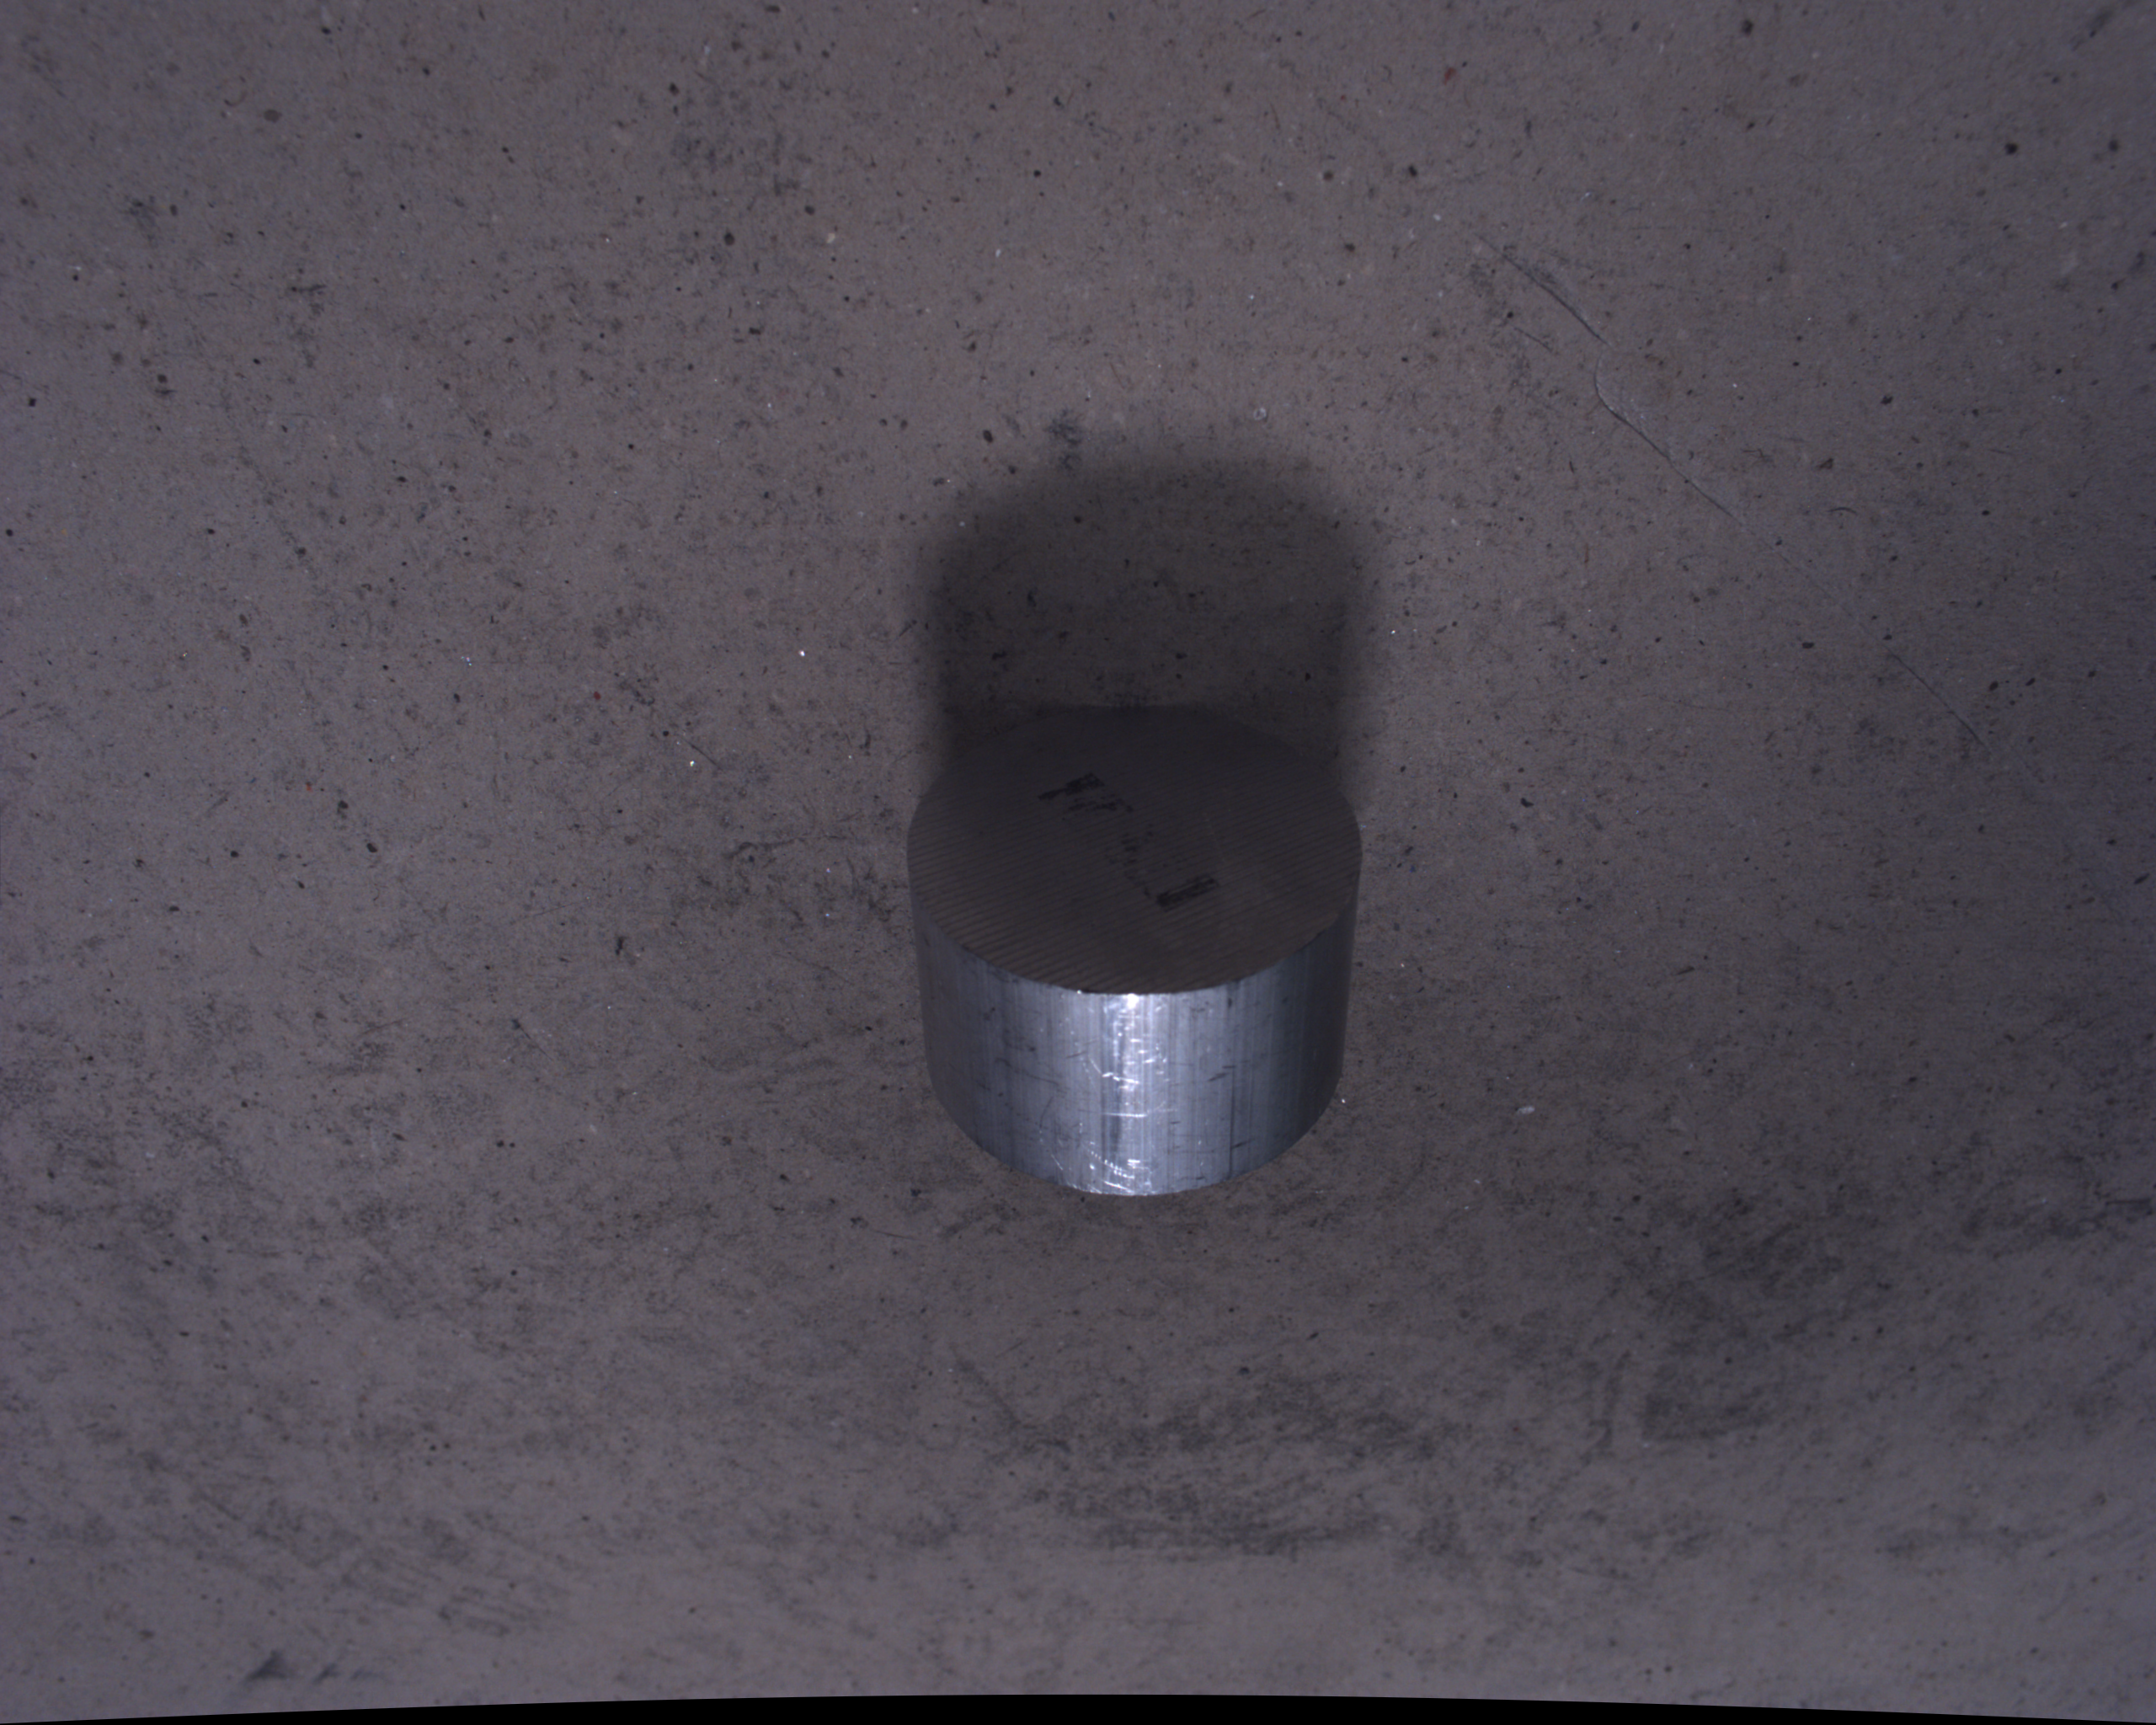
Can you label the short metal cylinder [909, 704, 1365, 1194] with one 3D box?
[{"bbox_3d":[0.011,0.014,0.385,0.081,0.080,0.050,-1,130,0],"label":"short metal cylinder"}]
